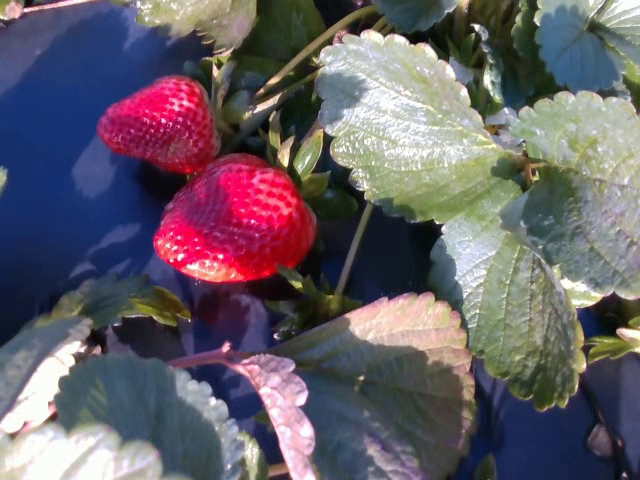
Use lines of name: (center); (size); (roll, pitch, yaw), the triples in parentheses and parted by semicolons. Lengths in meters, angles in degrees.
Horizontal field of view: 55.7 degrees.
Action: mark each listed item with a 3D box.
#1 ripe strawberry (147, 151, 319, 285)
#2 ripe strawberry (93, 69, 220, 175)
ripe strawberry: (-0.031, -0.004, 0.198); (0.057, 0.046, 0.052); (-30, 38, -35)
ripe strawberry: (-0.062, -0.043, 0.222); (0.043, 0.037, 0.051); (11, 36, 40)
